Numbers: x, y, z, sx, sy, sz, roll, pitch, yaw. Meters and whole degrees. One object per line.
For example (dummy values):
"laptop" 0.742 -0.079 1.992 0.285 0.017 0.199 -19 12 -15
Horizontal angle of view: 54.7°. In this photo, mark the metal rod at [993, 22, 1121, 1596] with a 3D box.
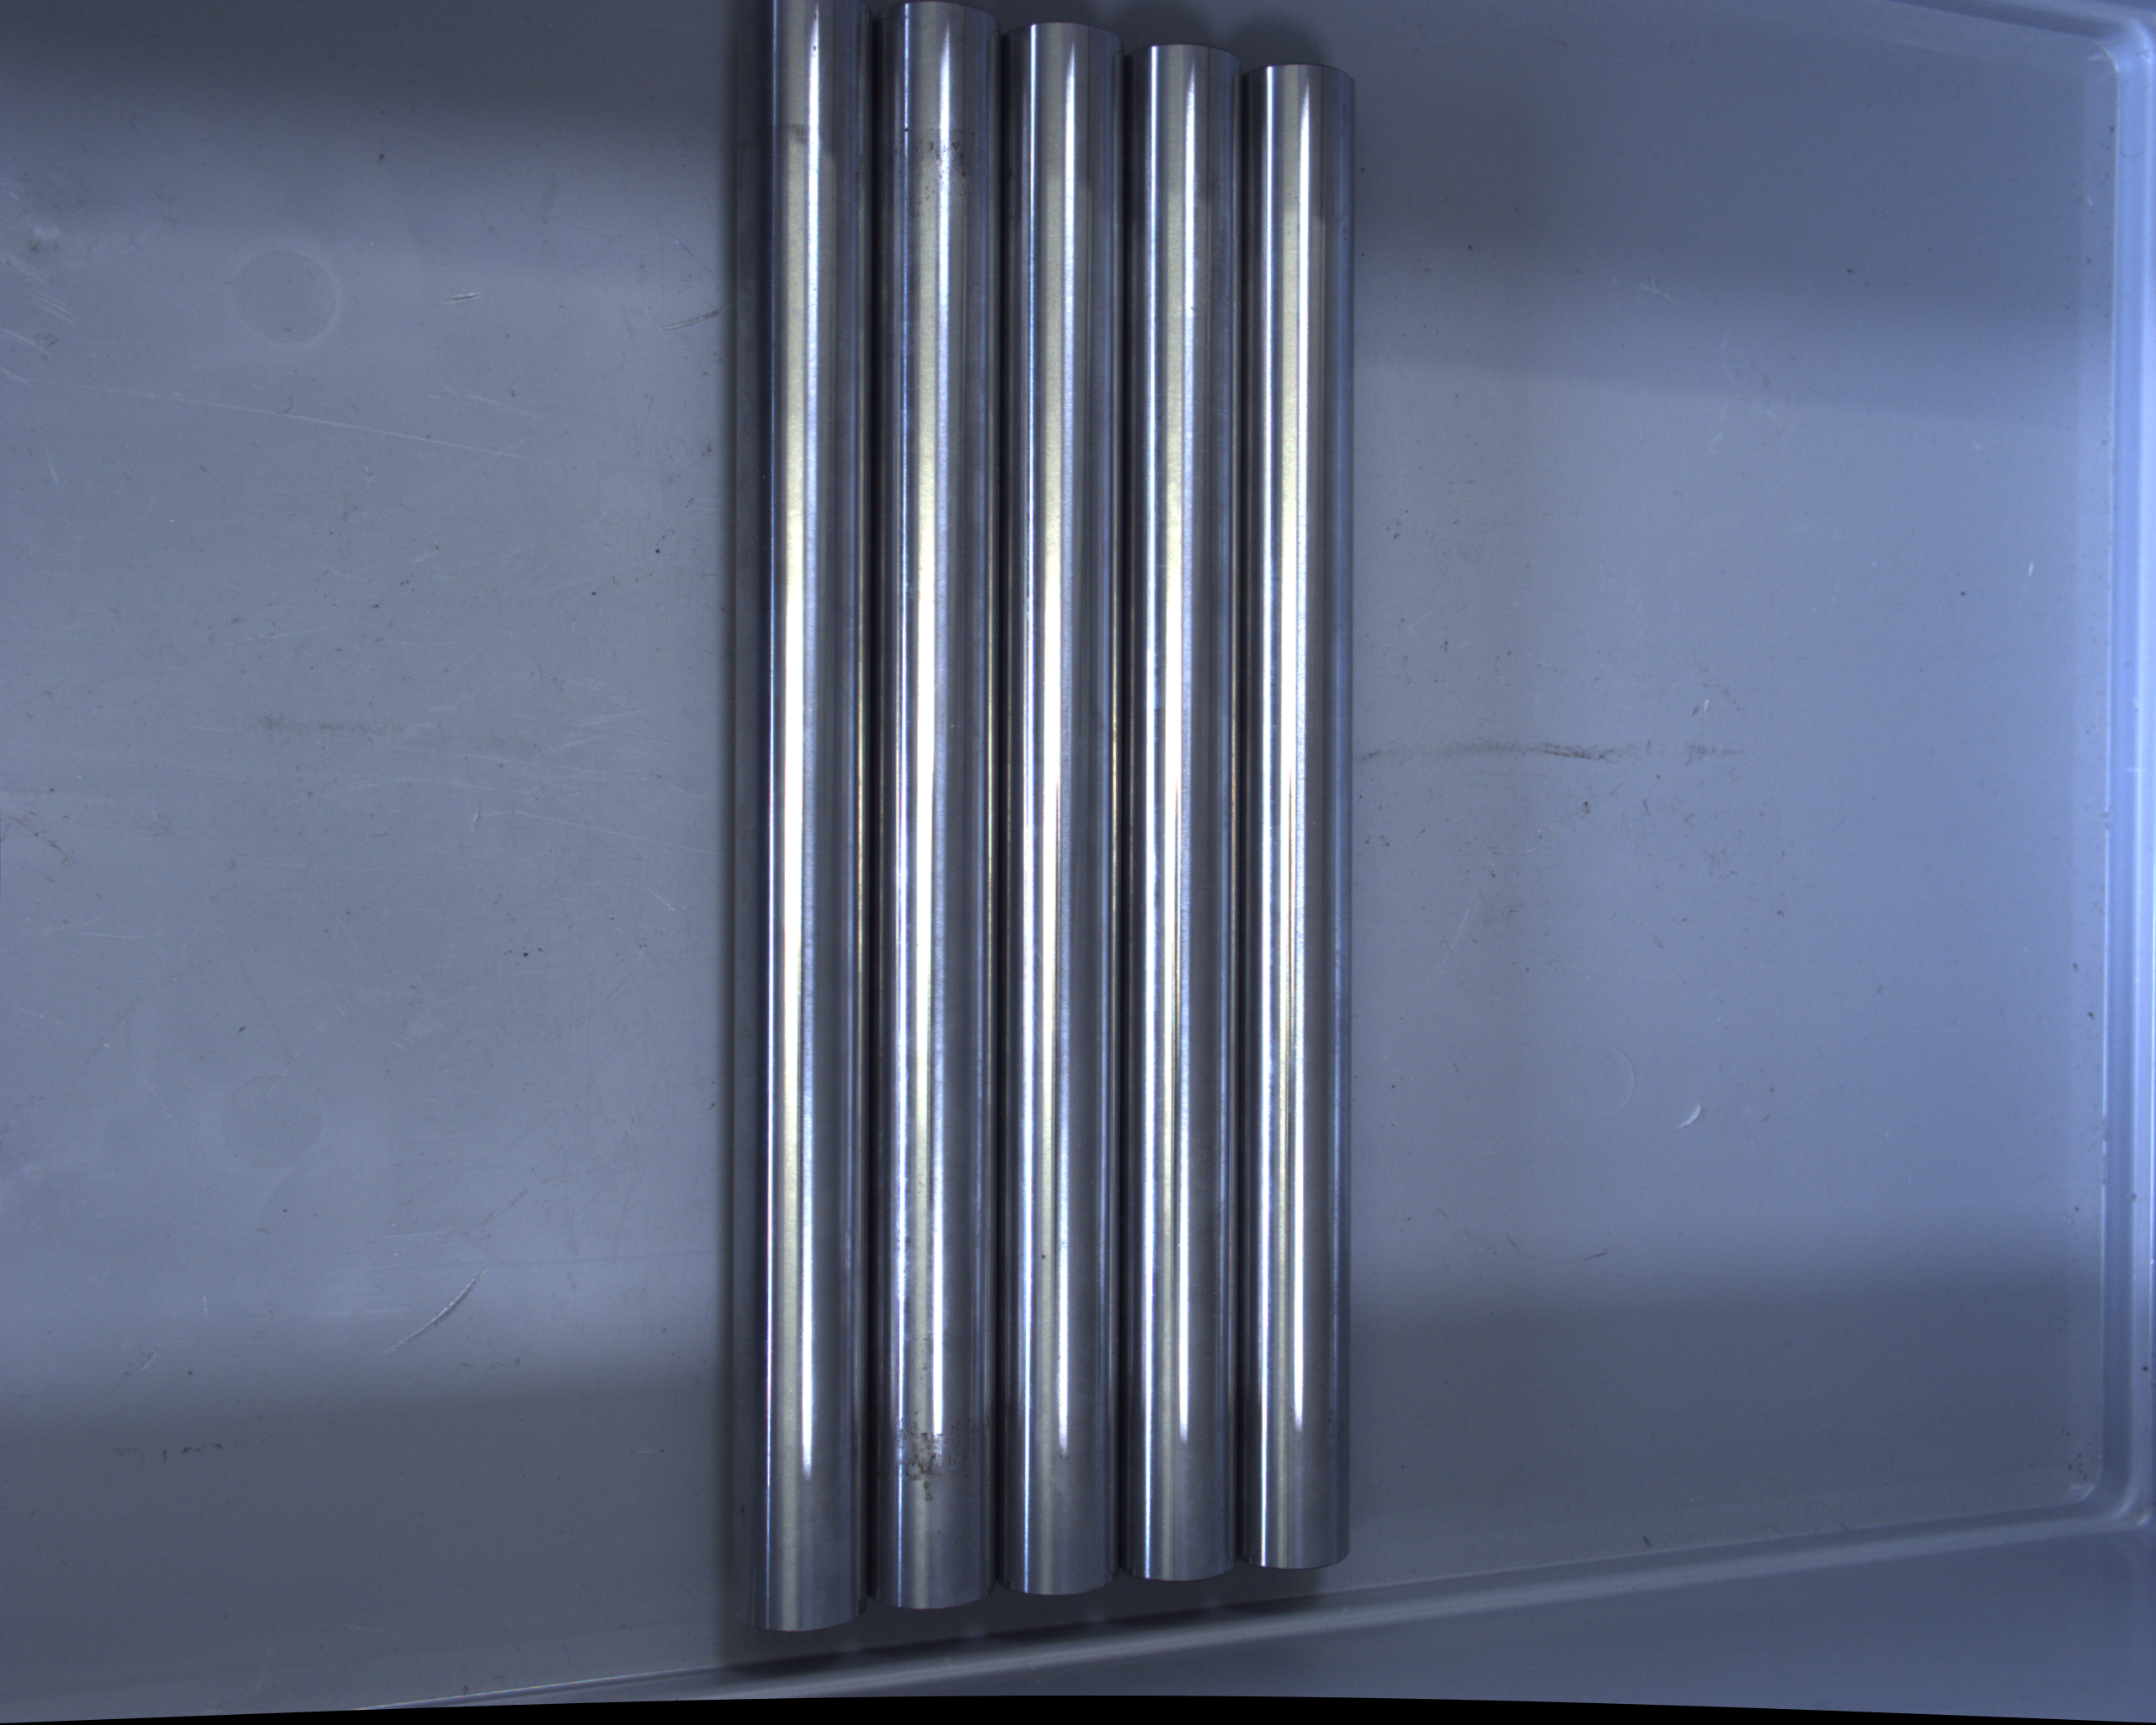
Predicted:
"metal rod" -0.005 -0.010 0.407 0.025 0.025 0.298 0 90 -20

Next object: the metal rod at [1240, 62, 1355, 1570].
"metal rod" 0.043 -0.009 0.425 0.025 0.025 0.298 0 90 -20

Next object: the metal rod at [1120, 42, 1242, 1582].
"metal rod" 0.020 -0.010 0.416 0.025 0.025 0.298 0 90 -20

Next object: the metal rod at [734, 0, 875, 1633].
"metal rod" -0.051 -0.010 0.390 0.025 0.025 0.298 0 90 -20

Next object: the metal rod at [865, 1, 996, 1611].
"metal rod" -0.029 -0.010 0.399 0.025 0.025 0.298 0 90 -20
